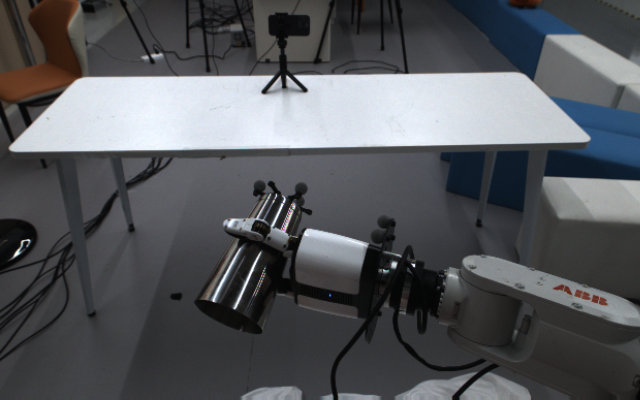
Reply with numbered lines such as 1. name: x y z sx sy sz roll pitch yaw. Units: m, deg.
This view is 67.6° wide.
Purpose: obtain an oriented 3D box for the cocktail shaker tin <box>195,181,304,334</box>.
1. cocktail shaker tin: -0.085 0.076 0.634 0.093 0.093 0.170 13 58 16
